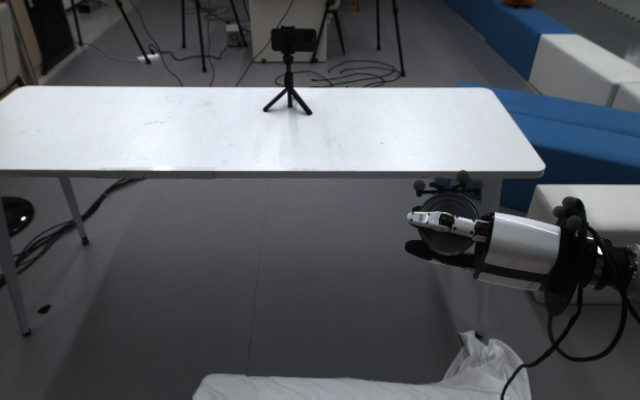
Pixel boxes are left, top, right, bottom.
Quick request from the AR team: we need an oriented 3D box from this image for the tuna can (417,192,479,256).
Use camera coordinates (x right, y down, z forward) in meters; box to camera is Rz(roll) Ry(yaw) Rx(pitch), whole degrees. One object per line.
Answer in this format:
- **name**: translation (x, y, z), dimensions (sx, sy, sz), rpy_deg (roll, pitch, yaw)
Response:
- **tuna can**: translation (0.180, 0.032, 0.677), dimensions (0.085, 0.034, 0.085), rpy_deg (-5, 70, 15)
